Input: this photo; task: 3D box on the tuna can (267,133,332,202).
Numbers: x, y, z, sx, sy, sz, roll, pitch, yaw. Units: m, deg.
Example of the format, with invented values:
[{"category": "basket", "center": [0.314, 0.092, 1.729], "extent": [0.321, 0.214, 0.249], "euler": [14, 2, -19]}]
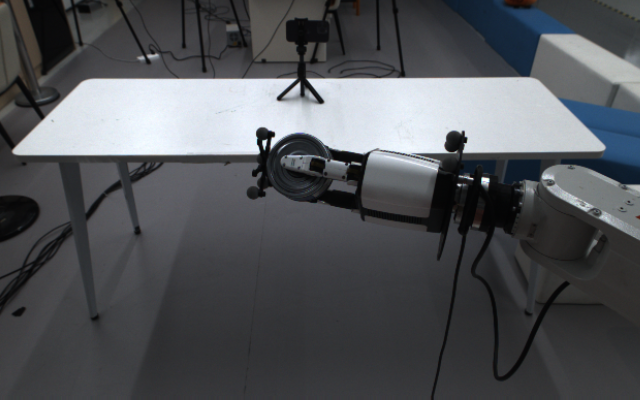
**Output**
[{"category": "tuna can", "center": [-0.023, -0.044, 0.628], "extent": [0.085, 0.085, 0.034], "euler": [9, -6, 10]}]
